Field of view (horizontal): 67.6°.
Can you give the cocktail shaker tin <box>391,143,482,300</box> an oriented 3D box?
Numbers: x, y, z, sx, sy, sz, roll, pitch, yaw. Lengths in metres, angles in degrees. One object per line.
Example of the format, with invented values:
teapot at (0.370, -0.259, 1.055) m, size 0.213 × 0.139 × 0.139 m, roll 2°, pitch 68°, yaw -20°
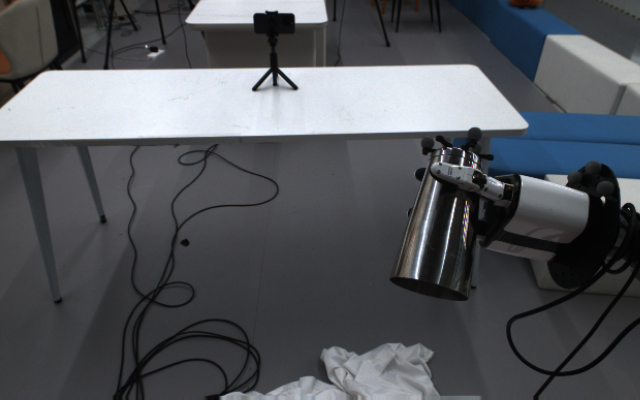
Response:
cocktail shaker tin at (0.151, 0.023, 0.589) m, size 0.093 × 0.093 × 0.170 m, roll 12°, pitch 72°, yaw 14°
